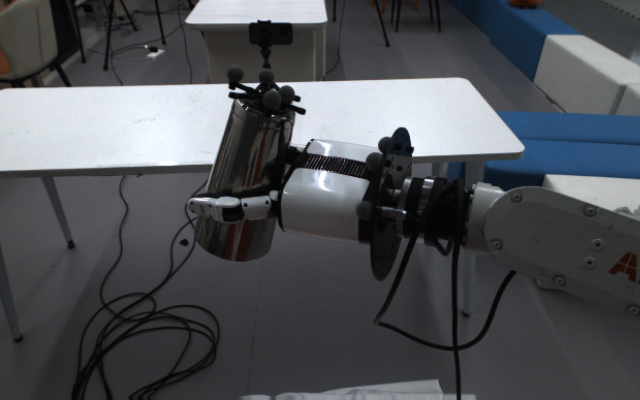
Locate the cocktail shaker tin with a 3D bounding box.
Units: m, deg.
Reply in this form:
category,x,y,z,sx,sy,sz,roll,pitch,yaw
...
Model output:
category,x,y,z,sx,sy,sz,roll,pitch,yaw
cocktail shaker tin,-0.079,-0.029,0.540,0.093,0.170,0.093,15,27,-8
